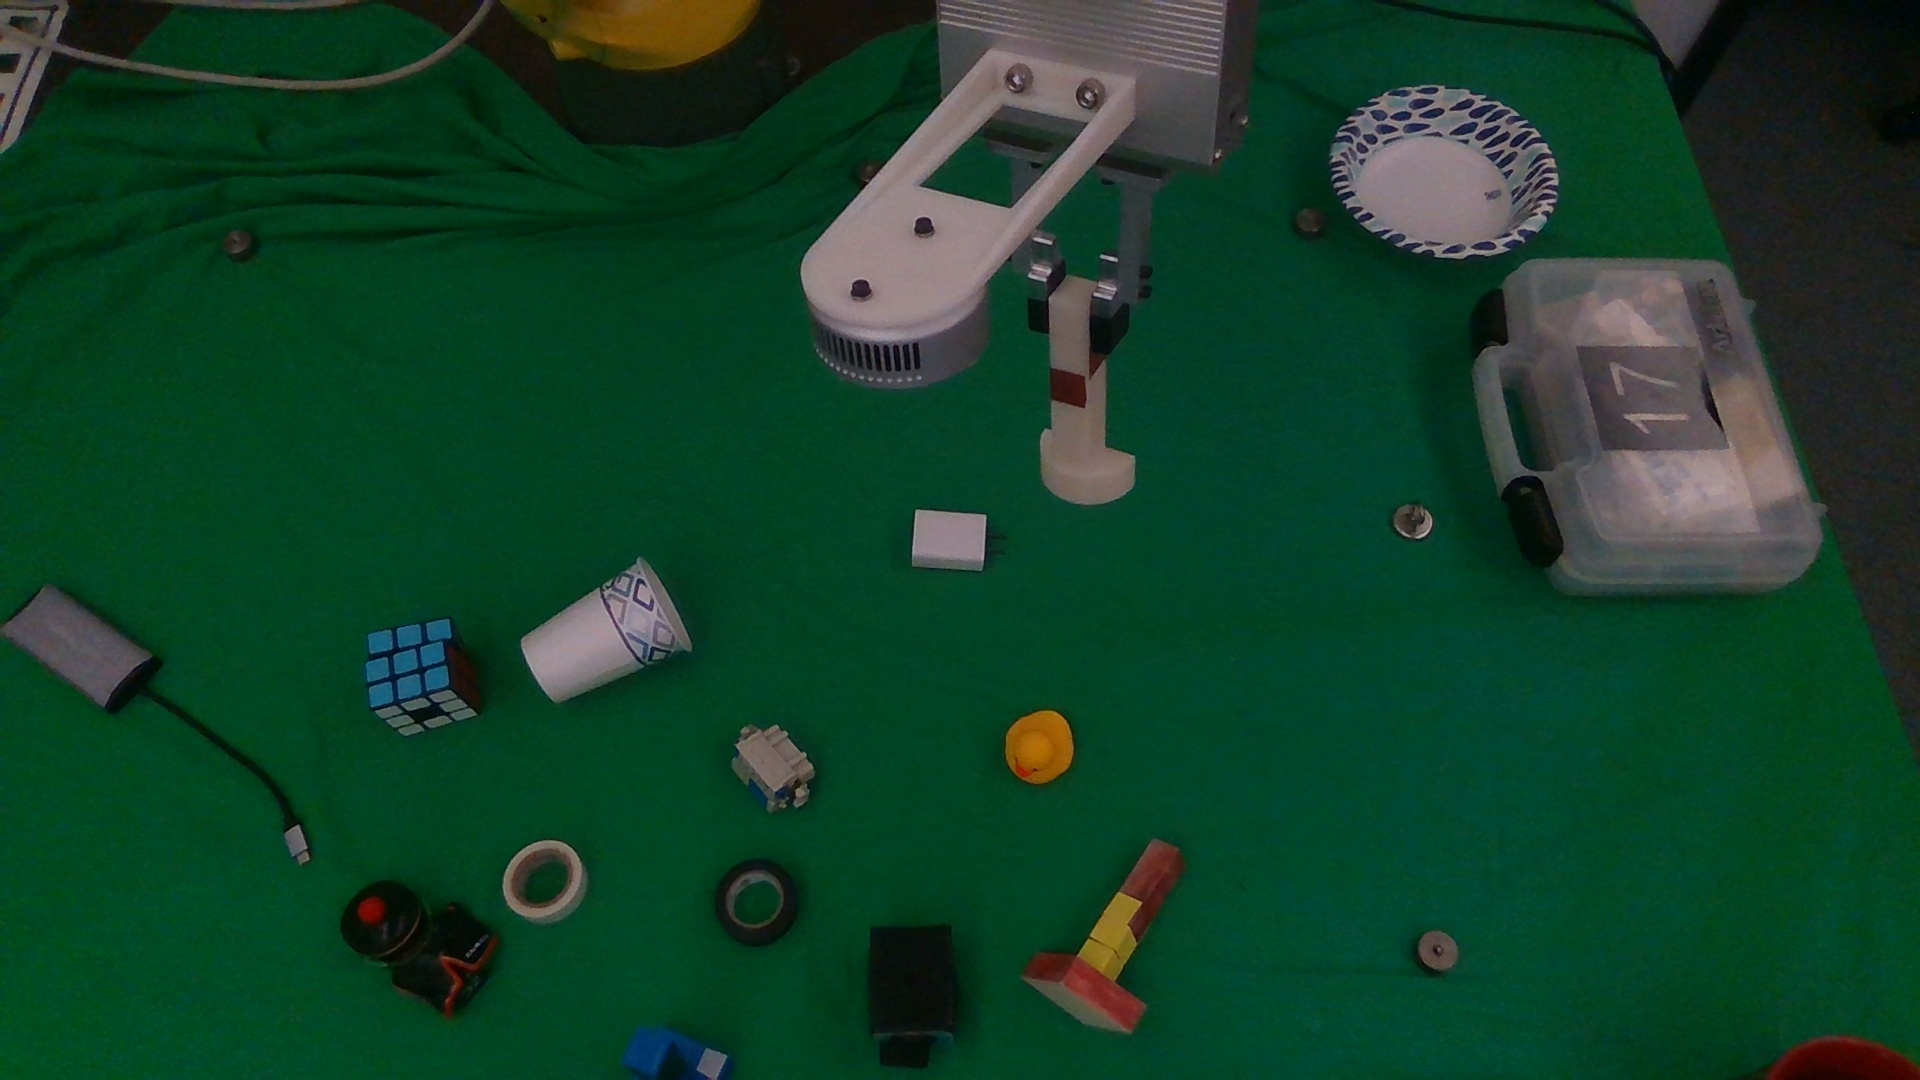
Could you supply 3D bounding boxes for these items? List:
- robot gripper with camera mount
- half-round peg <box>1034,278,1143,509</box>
[{"bbox_3d":[0.011,-0.094,0.505,0.119,0.158,0.193,19,47,25],"label":"robot gripper with camera mount"},{"bbox_3d":[0.054,-0.066,0.637,0.054,0.122,0.031,21,53,25],"label":"half-round peg"}]
